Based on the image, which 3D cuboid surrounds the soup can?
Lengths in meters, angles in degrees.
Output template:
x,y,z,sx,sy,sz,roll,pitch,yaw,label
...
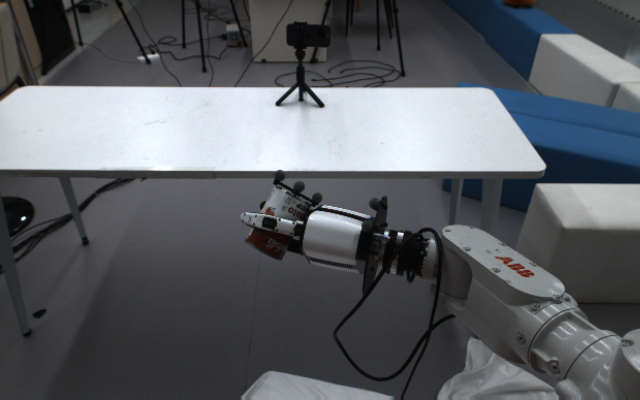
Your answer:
x,y,z,sx,sy,sz,roll,pitch,yaw,label
-0.066,0.036,0.769,0.067,0.101,0.067,29,-3,2,soup can
